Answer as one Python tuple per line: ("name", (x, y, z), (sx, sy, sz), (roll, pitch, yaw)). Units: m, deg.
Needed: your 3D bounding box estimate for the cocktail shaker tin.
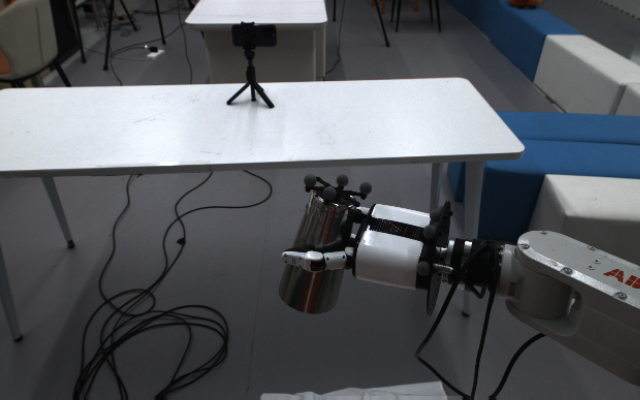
("cocktail shaker tin", (0.003, 0.069, 0.707), (0.093, 0.170, 0.093), (12, 24, -5))
